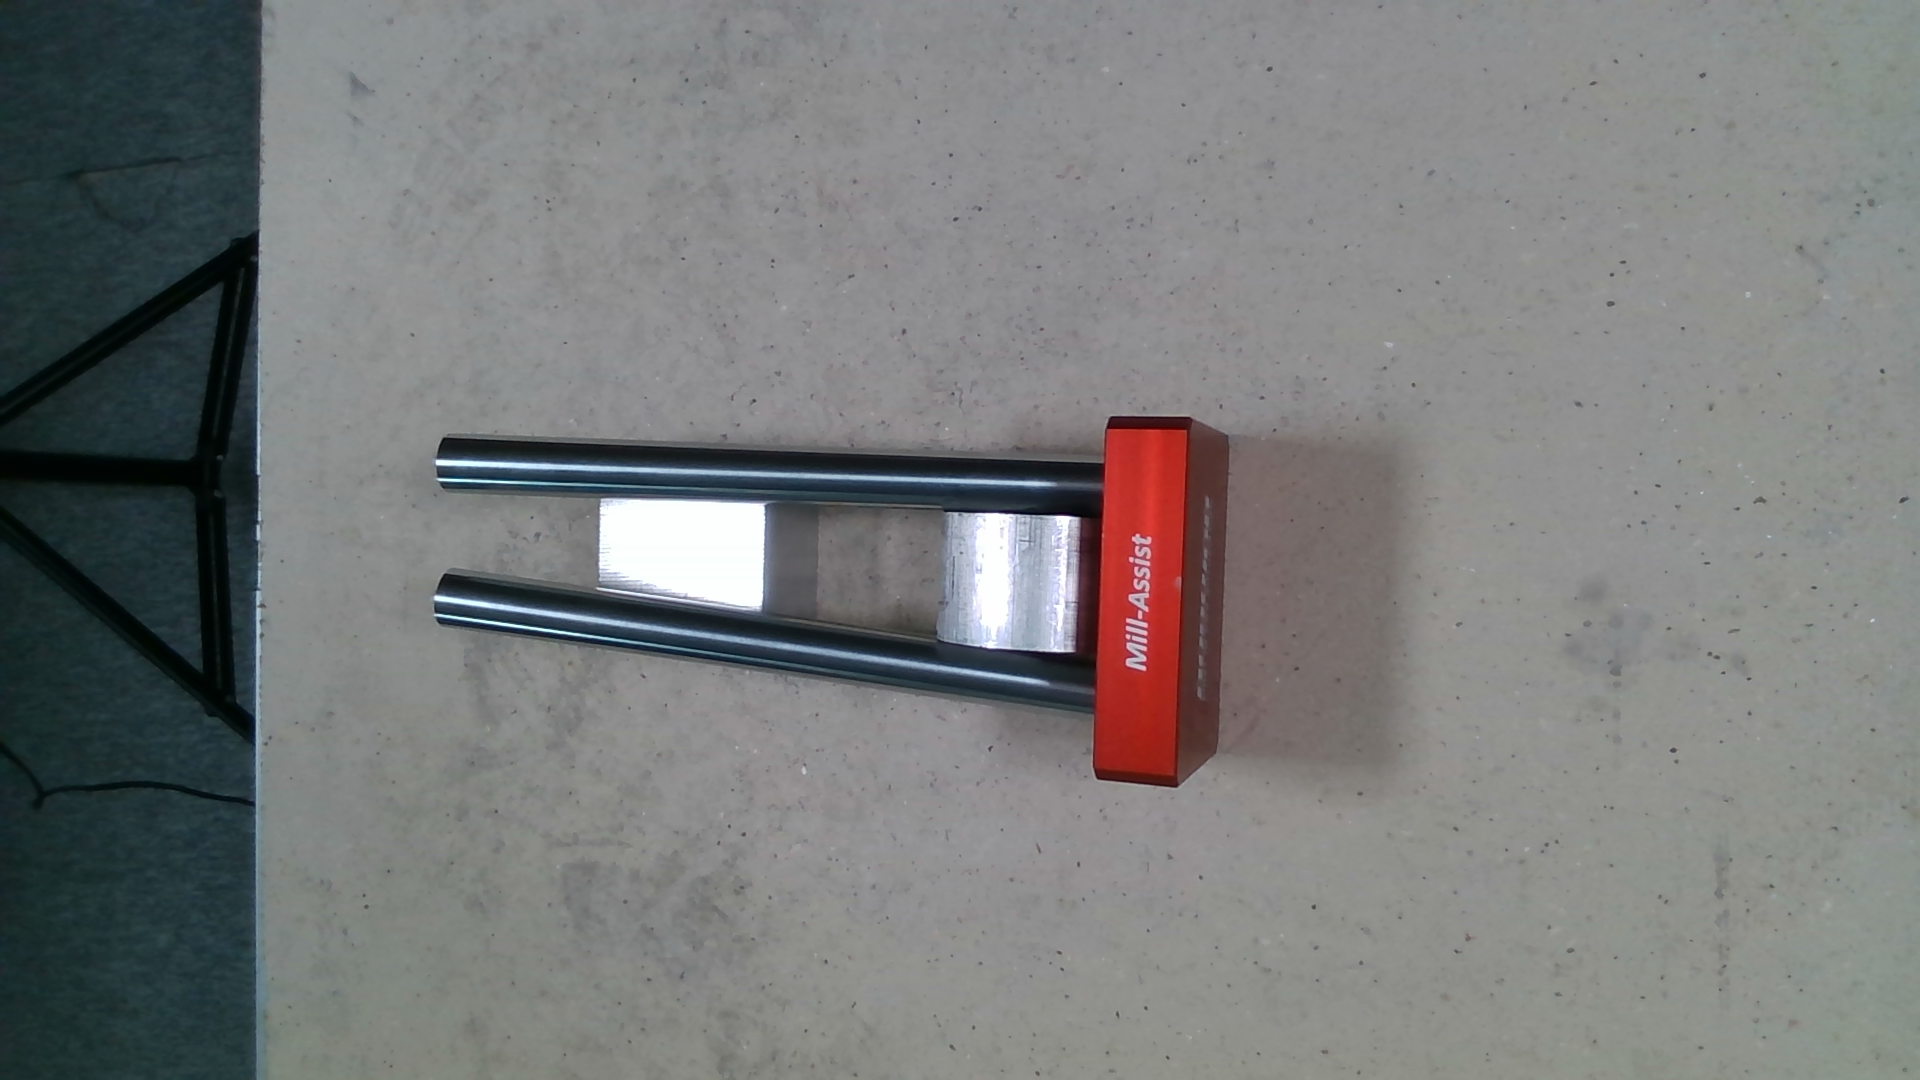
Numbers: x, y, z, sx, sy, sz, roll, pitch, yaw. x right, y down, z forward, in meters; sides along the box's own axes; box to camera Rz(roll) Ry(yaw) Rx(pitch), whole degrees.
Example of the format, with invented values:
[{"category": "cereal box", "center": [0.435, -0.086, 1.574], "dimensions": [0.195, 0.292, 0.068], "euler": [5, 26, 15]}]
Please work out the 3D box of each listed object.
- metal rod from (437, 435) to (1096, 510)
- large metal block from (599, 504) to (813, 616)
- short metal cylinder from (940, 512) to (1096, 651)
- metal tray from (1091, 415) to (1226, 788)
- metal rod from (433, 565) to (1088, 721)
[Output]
[{"category": "metal rod", "center": [-0.063, -0.027, 0.560], "dimensions": [0.300, 0.025, 0.025], "euler": [2, 91, 5]}, {"category": "large metal block", "center": [-0.112, 0.008, 0.612], "dimensions": [0.080, 0.050, 0.080], "euler": [2, 91, 20]}, {"category": "short metal cylinder", "center": [0.031, 0.015, 0.546], "dimensions": [0.080, 0.080, 0.050], "euler": [2, 91, 20]}, {"category": "metal tray", "center": [0.078, 0.021, 0.522], "dimensions": [0.030, 0.090, 0.130], "euler": [2, 91, 20]}, {"category": "metal rod", "center": [-0.066, 0.043, 0.561], "dimensions": [0.300, 0.025, 0.025], "euler": [8, 93, 5]}]
